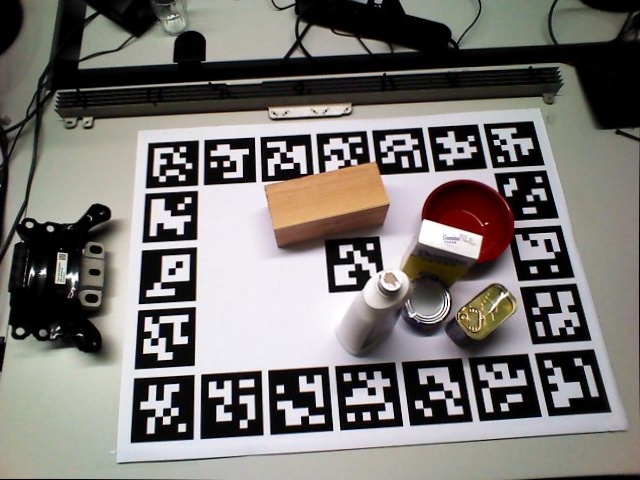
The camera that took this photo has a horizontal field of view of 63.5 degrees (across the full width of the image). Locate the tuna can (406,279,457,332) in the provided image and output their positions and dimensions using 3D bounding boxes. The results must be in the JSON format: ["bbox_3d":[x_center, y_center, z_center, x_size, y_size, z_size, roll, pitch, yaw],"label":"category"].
[{"bbox_3d":[0.184,0.111,0.871,0.086,0.034,0.085,0,71,1],"label":"tuna can"}]

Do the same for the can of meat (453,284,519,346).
[{"bbox_3d":[0.271,0.122,0.846,0.101,0.084,0.058,-32,68,-14],"label":"can of meat"}]

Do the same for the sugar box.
[{"bbox_3d":[0.203,0.026,0.829,0.093,0.177,0.045,16,70,10],"label":"sugar box"}]

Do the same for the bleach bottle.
[{"bbox_3d":[0.086,0.098,0.763,0.102,0.251,0.068,-28,69,-10],"label":"bleach bottle"}]

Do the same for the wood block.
[{"bbox_3d":[0.016,-0.063,0.919,0.206,0.090,0.090,-12,72,-5],"label":"wood block"}]

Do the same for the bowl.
[{"bbox_3d":[0.277,-0.030,0.919,0.162,0.055,0.161,-2,68,4],"label":"bowl"}]
